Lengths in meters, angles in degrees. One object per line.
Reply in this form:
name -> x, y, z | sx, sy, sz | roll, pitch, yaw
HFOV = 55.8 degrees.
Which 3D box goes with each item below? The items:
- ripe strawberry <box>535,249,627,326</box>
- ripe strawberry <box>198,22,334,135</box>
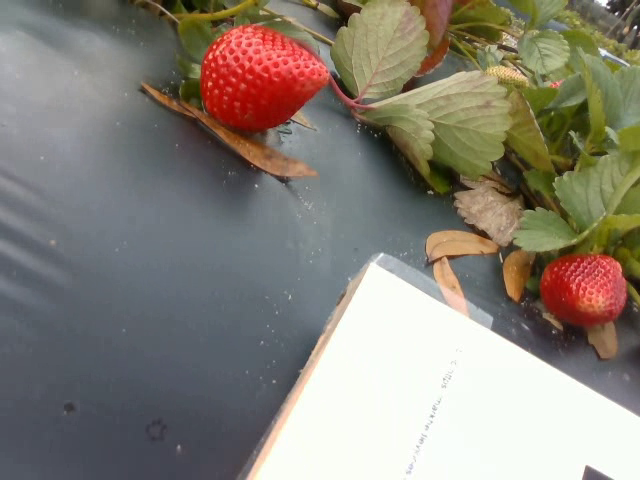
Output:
ripe strawberry -> 0.110, 0.022, 0.241 | 0.040, 0.037, 0.042 | 41, 17, 1
ripe strawberry -> -0.018, -0.063, 0.234 | 0.065, 0.047, 0.043 | 12, -33, 45
